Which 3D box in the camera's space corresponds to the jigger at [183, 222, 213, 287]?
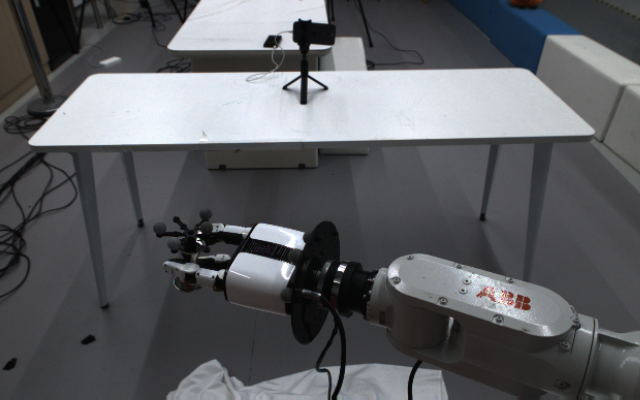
[{"bbox_3d":[-0.182,0.090,0.681,0.043,0.071,0.043,9,30,-5],"label":"jigger"}]
